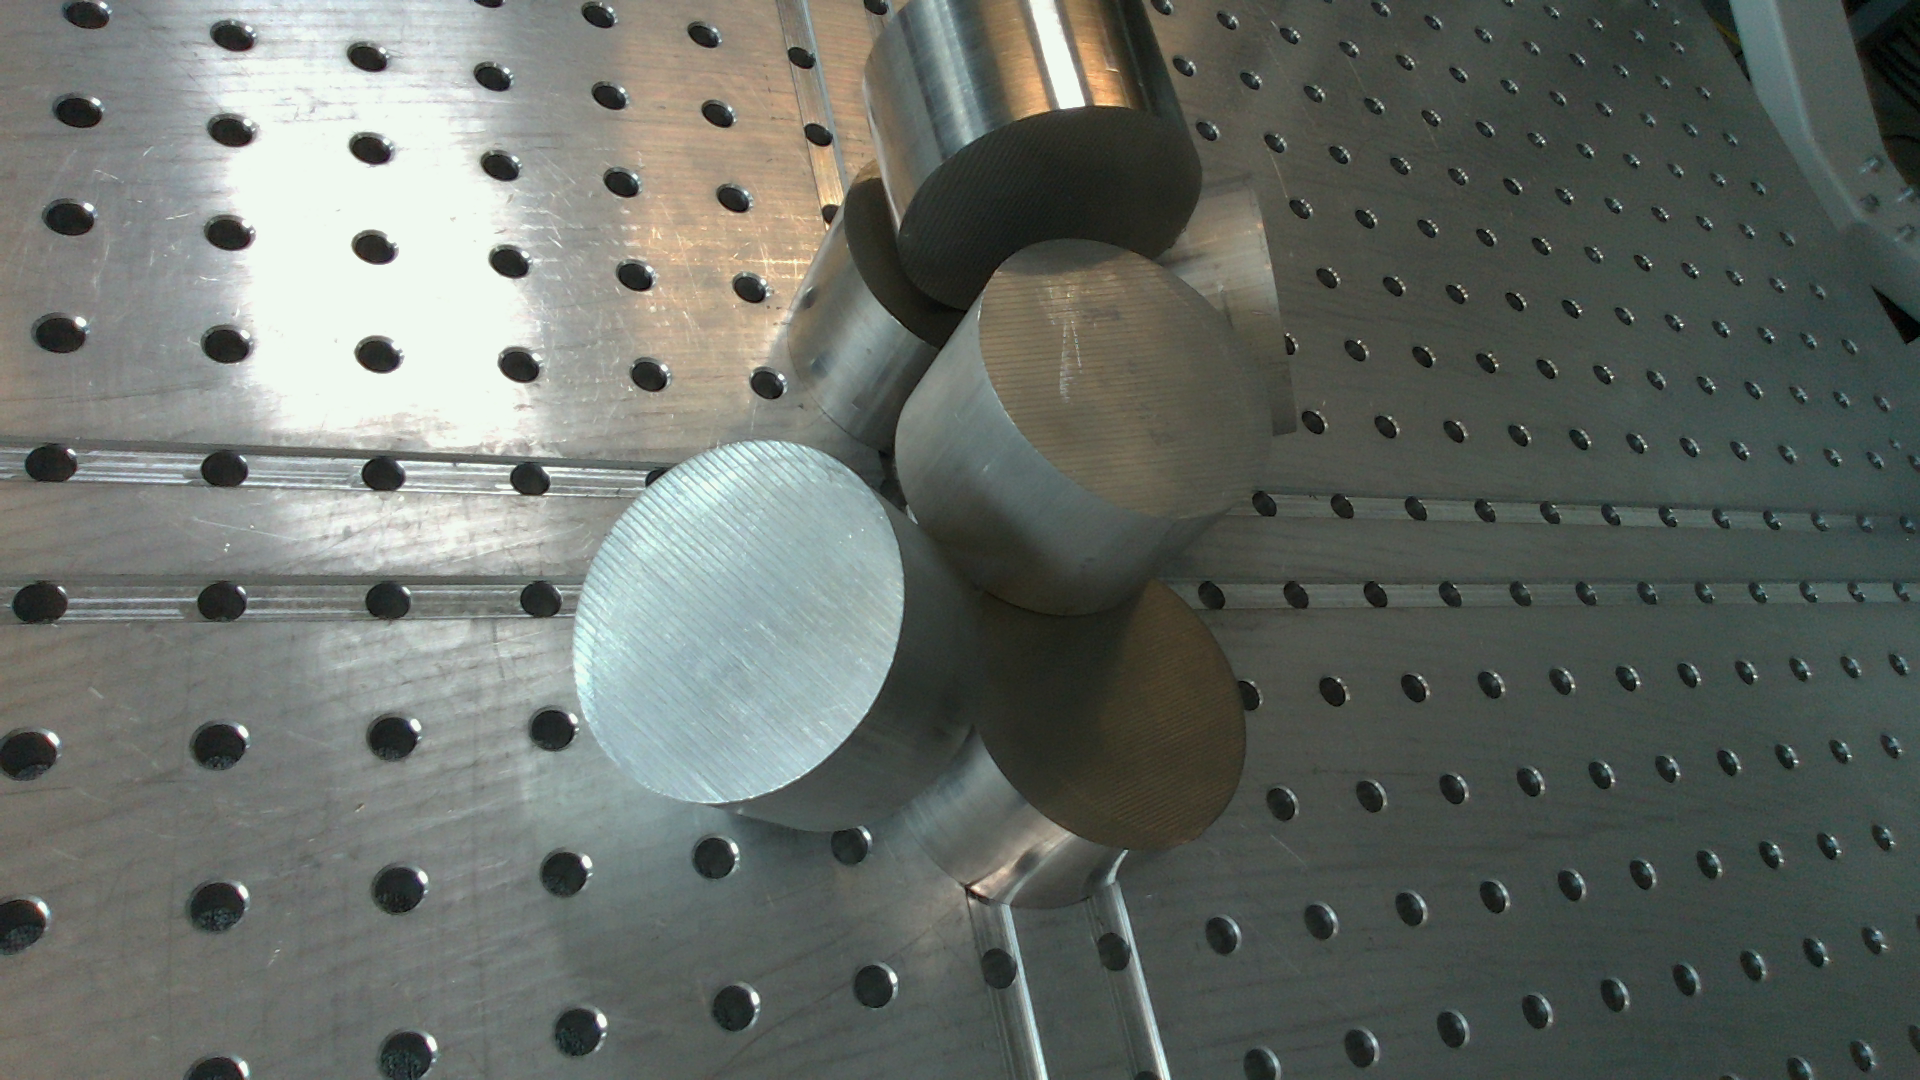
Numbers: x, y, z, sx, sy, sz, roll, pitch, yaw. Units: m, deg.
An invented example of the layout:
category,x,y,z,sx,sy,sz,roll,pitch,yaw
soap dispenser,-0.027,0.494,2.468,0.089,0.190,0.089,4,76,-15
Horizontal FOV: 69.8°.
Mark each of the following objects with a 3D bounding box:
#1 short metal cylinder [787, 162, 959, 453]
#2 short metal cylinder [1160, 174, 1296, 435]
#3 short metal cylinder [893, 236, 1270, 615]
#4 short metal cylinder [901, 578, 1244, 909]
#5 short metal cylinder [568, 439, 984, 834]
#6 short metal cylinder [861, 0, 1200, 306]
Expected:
category,x,y,z,sx,sy,sz,roll,pitch,yaw
short metal cylinder,-0.007,-0.070,0.416,0.080,0.050,0.080,13,56,-21
short metal cylinder,0.072,-0.068,0.429,0.050,0.080,0.080,-11,59,12
short metal cylinder,0.030,-0.028,0.345,0.080,0.050,0.080,14,56,-21
short metal cylinder,0.026,0.050,0.360,0.080,0.050,0.080,14,57,-21
short metal cylinder,-0.040,0.024,0.314,0.050,0.080,0.080,42,29,-63
short metal cylinder,0.018,-0.105,0.366,0.080,0.080,0.050,0,61,-28
